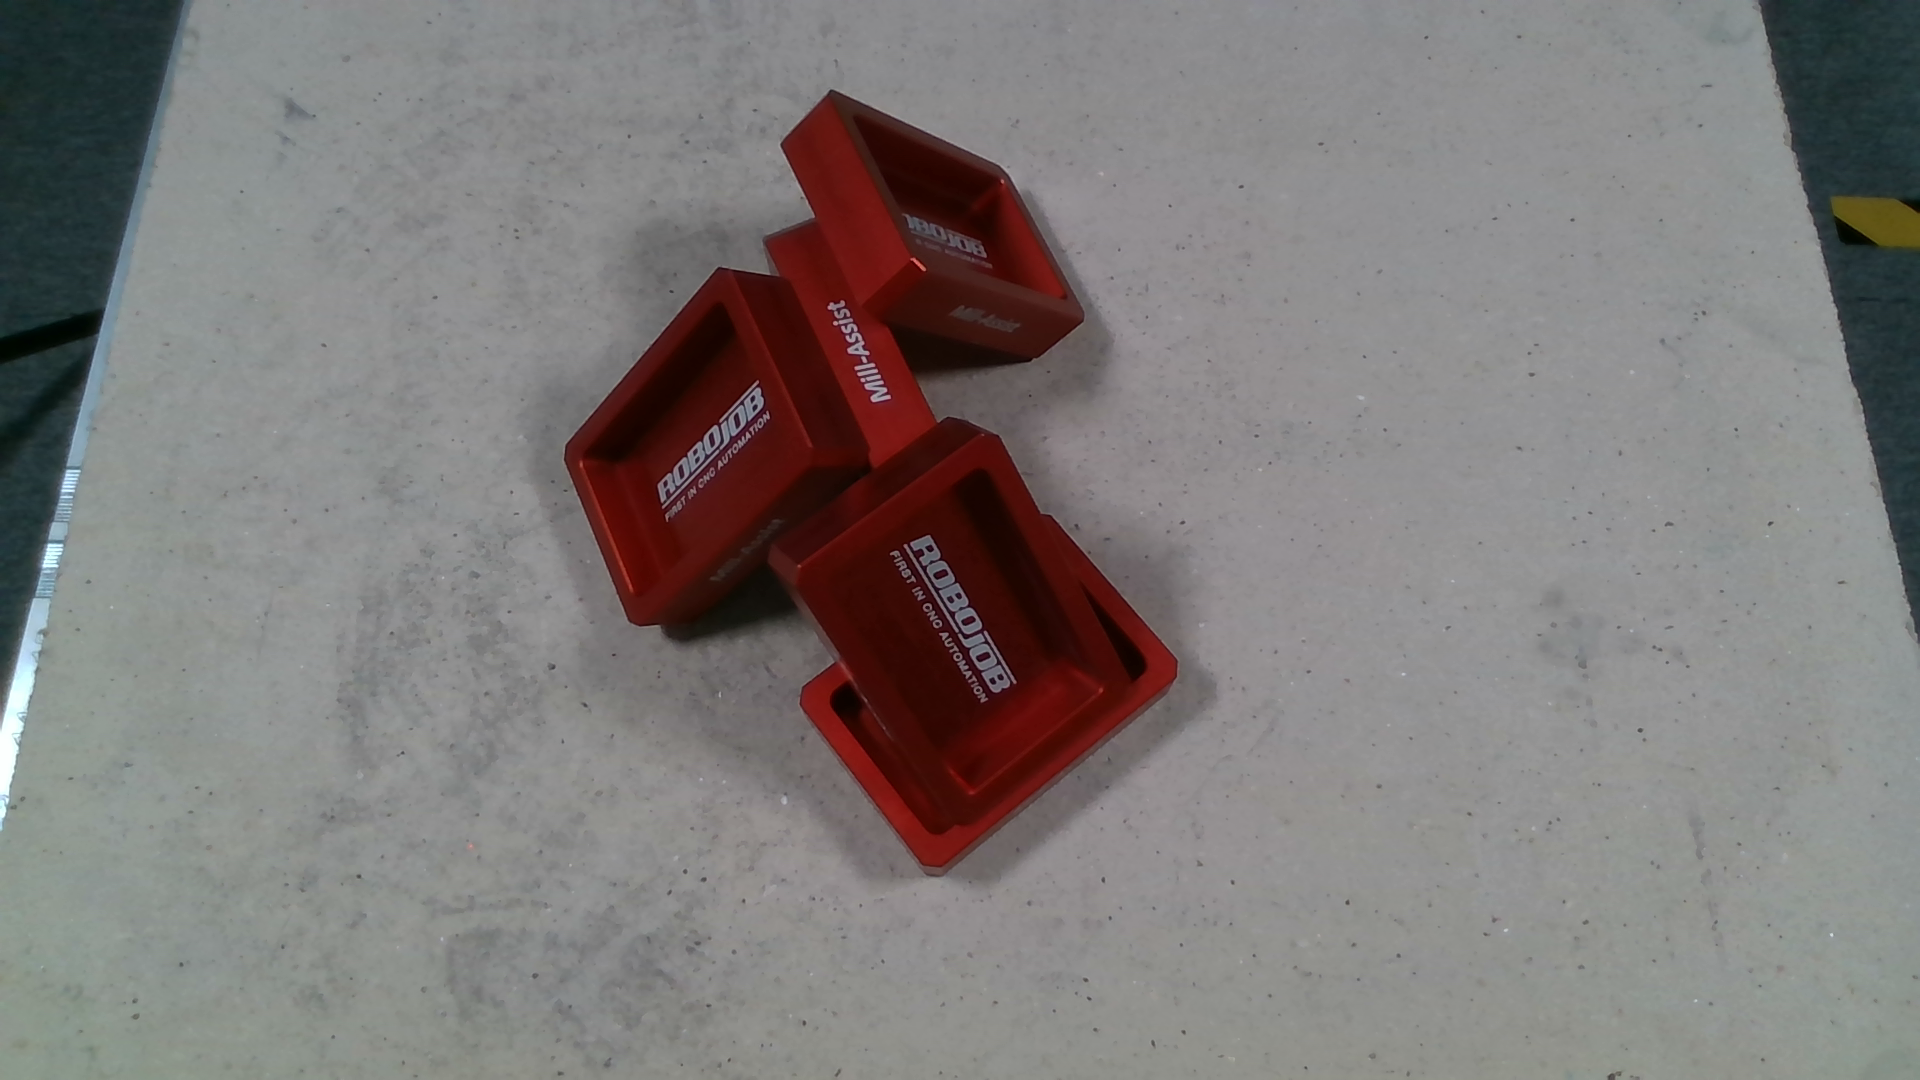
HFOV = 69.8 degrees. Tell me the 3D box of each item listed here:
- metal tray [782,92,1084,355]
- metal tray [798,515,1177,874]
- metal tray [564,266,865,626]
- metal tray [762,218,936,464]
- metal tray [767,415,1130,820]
[{"bbox_3d":[-0.008,-0.130,0.585,0.030,0.130,0.090,-36,70,28],"label":"metal tray"},{"bbox_3d":[0.012,0.062,0.564,0.130,0.030,0.090,-37,74,-12],"label":"metal tray"},{"bbox_3d":[-0.103,-0.035,0.554,0.130,0.030,0.090,-39,68,34],"label":"metal tray"},{"bbox_3d":[-0.039,-0.058,0.574,0.030,0.090,0.130,-24,72,-8],"label":"metal tray"},{"bbox_3d":[-0.001,0.031,0.518,0.090,0.030,0.130,-36,119,-12],"label":"metal tray"}]
